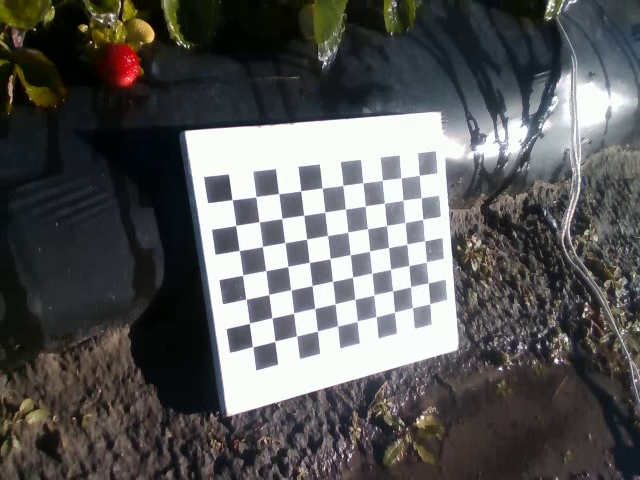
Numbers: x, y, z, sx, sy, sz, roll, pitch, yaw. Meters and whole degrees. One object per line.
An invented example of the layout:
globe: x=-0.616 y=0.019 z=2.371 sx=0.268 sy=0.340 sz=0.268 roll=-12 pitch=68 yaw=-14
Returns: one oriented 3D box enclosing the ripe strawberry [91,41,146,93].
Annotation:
ripe strawberry: x=-0.129 y=-0.113 z=0.456 sx=0.039 sy=0.040 sz=0.039 roll=-18 pitch=37 yaw=-16
